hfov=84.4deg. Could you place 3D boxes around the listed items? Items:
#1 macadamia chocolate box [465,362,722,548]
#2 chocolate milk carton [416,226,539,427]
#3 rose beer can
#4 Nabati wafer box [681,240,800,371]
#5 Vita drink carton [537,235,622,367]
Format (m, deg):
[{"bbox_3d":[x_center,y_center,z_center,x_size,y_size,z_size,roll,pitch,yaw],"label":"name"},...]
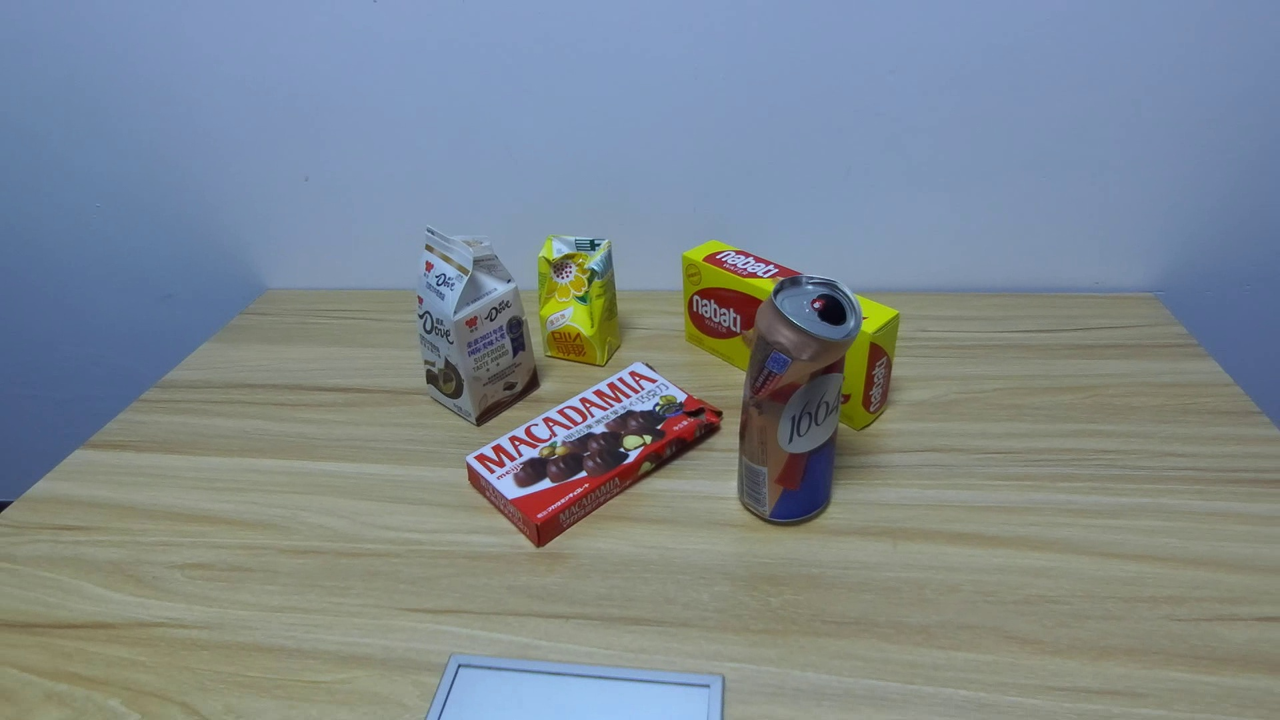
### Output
[{"bbox_3d":[-0.030,0.064,0.549,0.187,0.027,0.102,-30,43,-31],"label":"macadamia chocolate box"},{"bbox_3d":[-0.146,-0.036,0.594,0.084,0.155,0.073,25,45,36],"label":"chocolate milk carton"},{"bbox_3d":[0.099,0.029,0.456,0.070,0.168,0.069,0,35,1],"label":"rose beer can"},{"bbox_3d":[0.118,-0.026,0.597,0.042,0.093,0.202,-26,40,-33],"label":"Nabati wafer box"},{"bbox_3d":[-0.059,-0.054,0.648,0.071,0.110,0.046,9,33,23],"label":"Vita drink carton"}]
